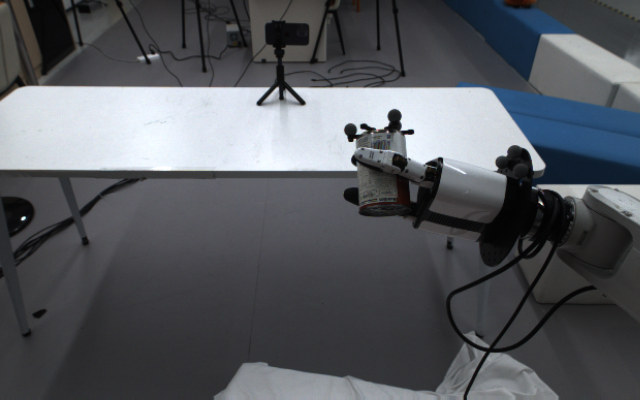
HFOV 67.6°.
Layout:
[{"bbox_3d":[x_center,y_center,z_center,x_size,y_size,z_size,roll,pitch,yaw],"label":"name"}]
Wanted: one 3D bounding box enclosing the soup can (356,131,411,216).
[{"bbox_3d":[0.085,-0.035,0.635,0.067,0.067,0.101,-2,76,-5],"label":"soup can"}]
